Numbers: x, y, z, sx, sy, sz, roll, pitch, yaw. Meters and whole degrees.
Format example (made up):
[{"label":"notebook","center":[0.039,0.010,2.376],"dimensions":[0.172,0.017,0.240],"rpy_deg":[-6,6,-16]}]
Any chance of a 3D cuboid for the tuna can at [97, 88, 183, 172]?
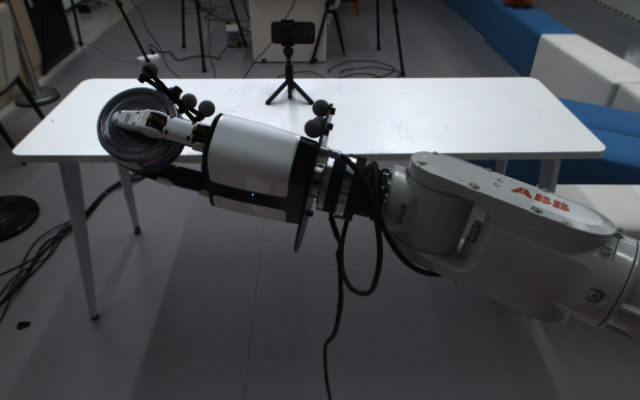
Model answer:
[{"label":"tuna can","center":[-0.186,-0.074,0.512],"dimensions":[0.085,0.034,0.085],"rpy_deg":[0,73,-1]}]
